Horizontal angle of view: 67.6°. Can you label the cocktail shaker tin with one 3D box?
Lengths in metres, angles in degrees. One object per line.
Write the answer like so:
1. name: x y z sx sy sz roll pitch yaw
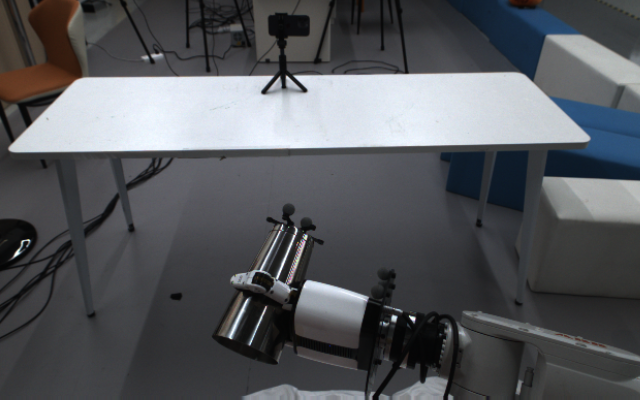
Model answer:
1. cocktail shaker tin: -0.067 0.122 0.648 0.093 0.093 0.170 14 61 17
